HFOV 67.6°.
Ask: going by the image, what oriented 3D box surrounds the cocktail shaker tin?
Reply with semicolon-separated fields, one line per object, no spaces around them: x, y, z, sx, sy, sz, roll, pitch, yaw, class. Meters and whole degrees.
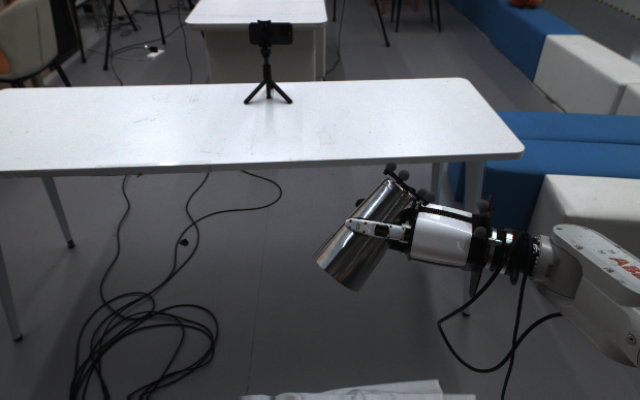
0.078;0.047;0.768;0.170;0.093;0.093;-50;46;4;cocktail shaker tin
